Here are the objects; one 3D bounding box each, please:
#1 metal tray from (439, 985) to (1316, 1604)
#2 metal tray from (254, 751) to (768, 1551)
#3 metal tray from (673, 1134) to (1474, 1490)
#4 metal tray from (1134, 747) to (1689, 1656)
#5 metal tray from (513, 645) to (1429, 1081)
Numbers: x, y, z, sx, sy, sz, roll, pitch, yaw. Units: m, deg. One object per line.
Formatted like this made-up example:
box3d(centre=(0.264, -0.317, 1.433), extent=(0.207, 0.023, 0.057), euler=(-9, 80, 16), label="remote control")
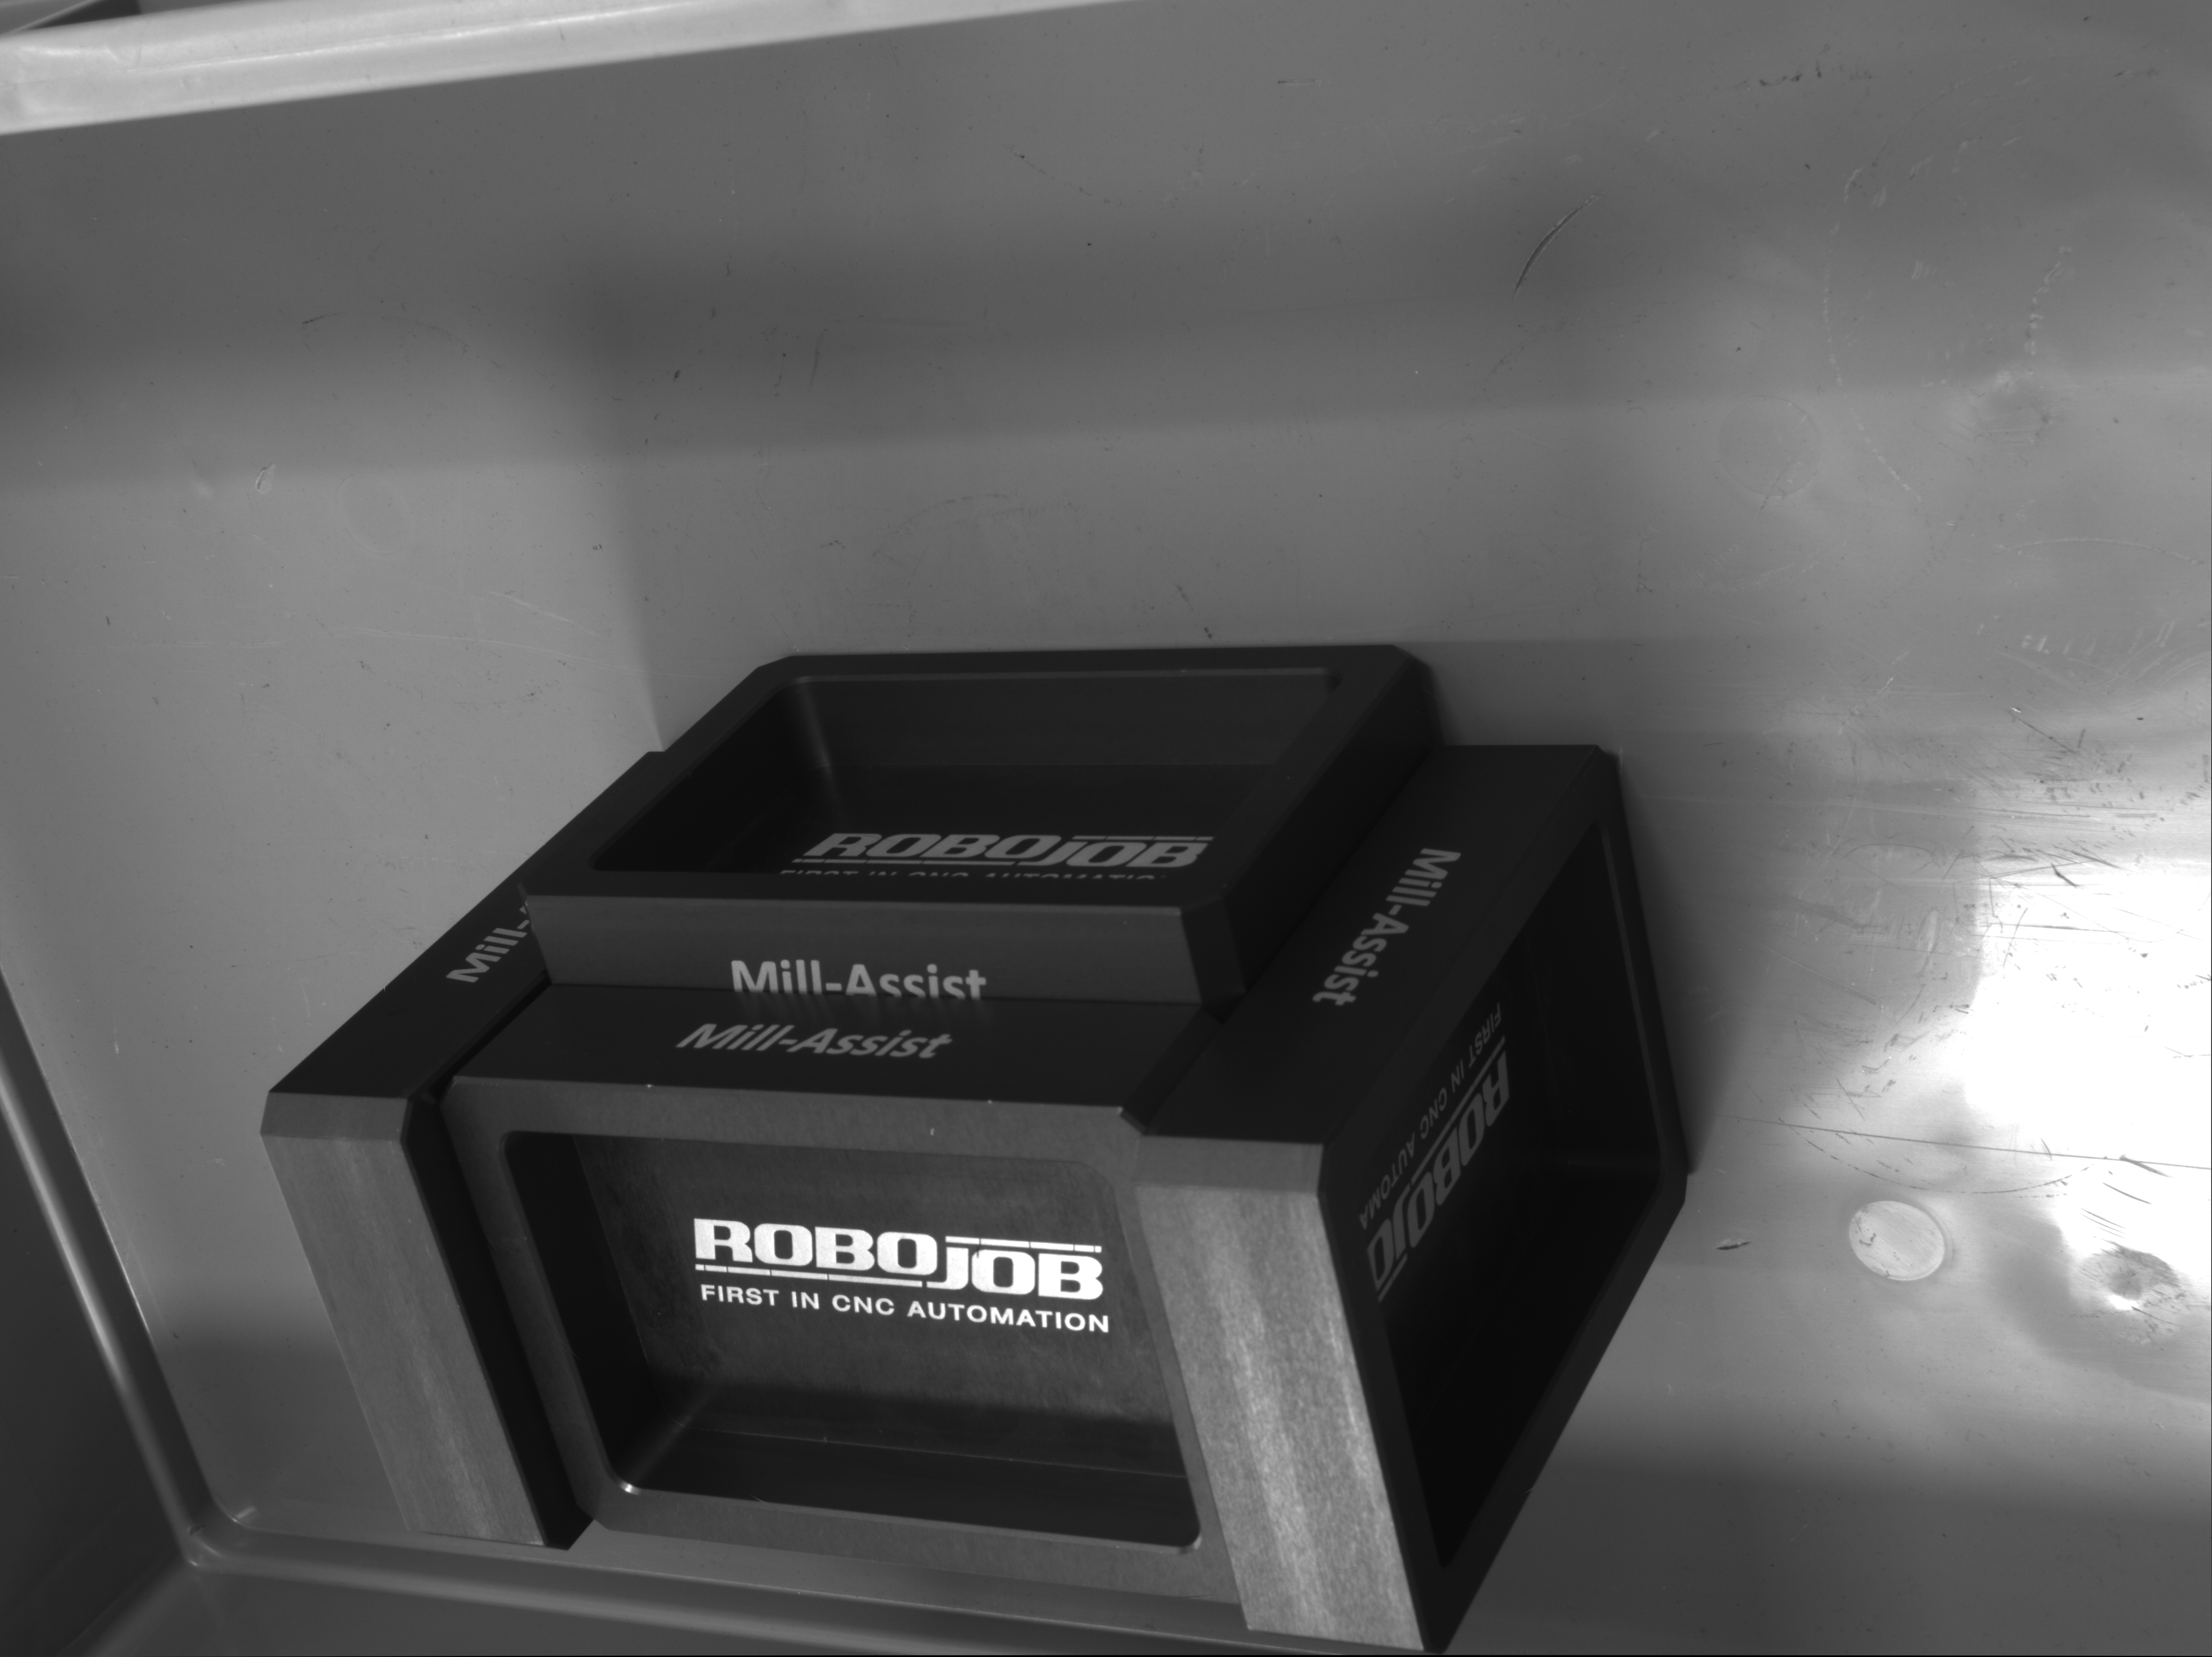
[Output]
box3d(centre=(-0.035, 0.073, 0.584), extent=(0.130, 0.030, 0.090), euler=(1, 118, 28), label="metal tray")
box3d(centre=(-0.089, 0.054, 0.654), extent=(0.030, 0.130, 0.090), euler=(0, 119, 28), label="metal tray")
box3d(centre=(-0.001, 0.083, 0.648), extent=(0.130, 0.090, 0.030), euler=(0, 118, 28), label="metal tray")
box3d(centre=(0.053, 0.055, 0.577), extent=(0.030, 0.130, 0.090), euler=(1, 119, 28), label="metal tray")
box3d(centre=(-0.021, 0.004, 0.610), extent=(0.130, 0.090, 0.030), euler=(0, 119, 29), label="metal tray")
